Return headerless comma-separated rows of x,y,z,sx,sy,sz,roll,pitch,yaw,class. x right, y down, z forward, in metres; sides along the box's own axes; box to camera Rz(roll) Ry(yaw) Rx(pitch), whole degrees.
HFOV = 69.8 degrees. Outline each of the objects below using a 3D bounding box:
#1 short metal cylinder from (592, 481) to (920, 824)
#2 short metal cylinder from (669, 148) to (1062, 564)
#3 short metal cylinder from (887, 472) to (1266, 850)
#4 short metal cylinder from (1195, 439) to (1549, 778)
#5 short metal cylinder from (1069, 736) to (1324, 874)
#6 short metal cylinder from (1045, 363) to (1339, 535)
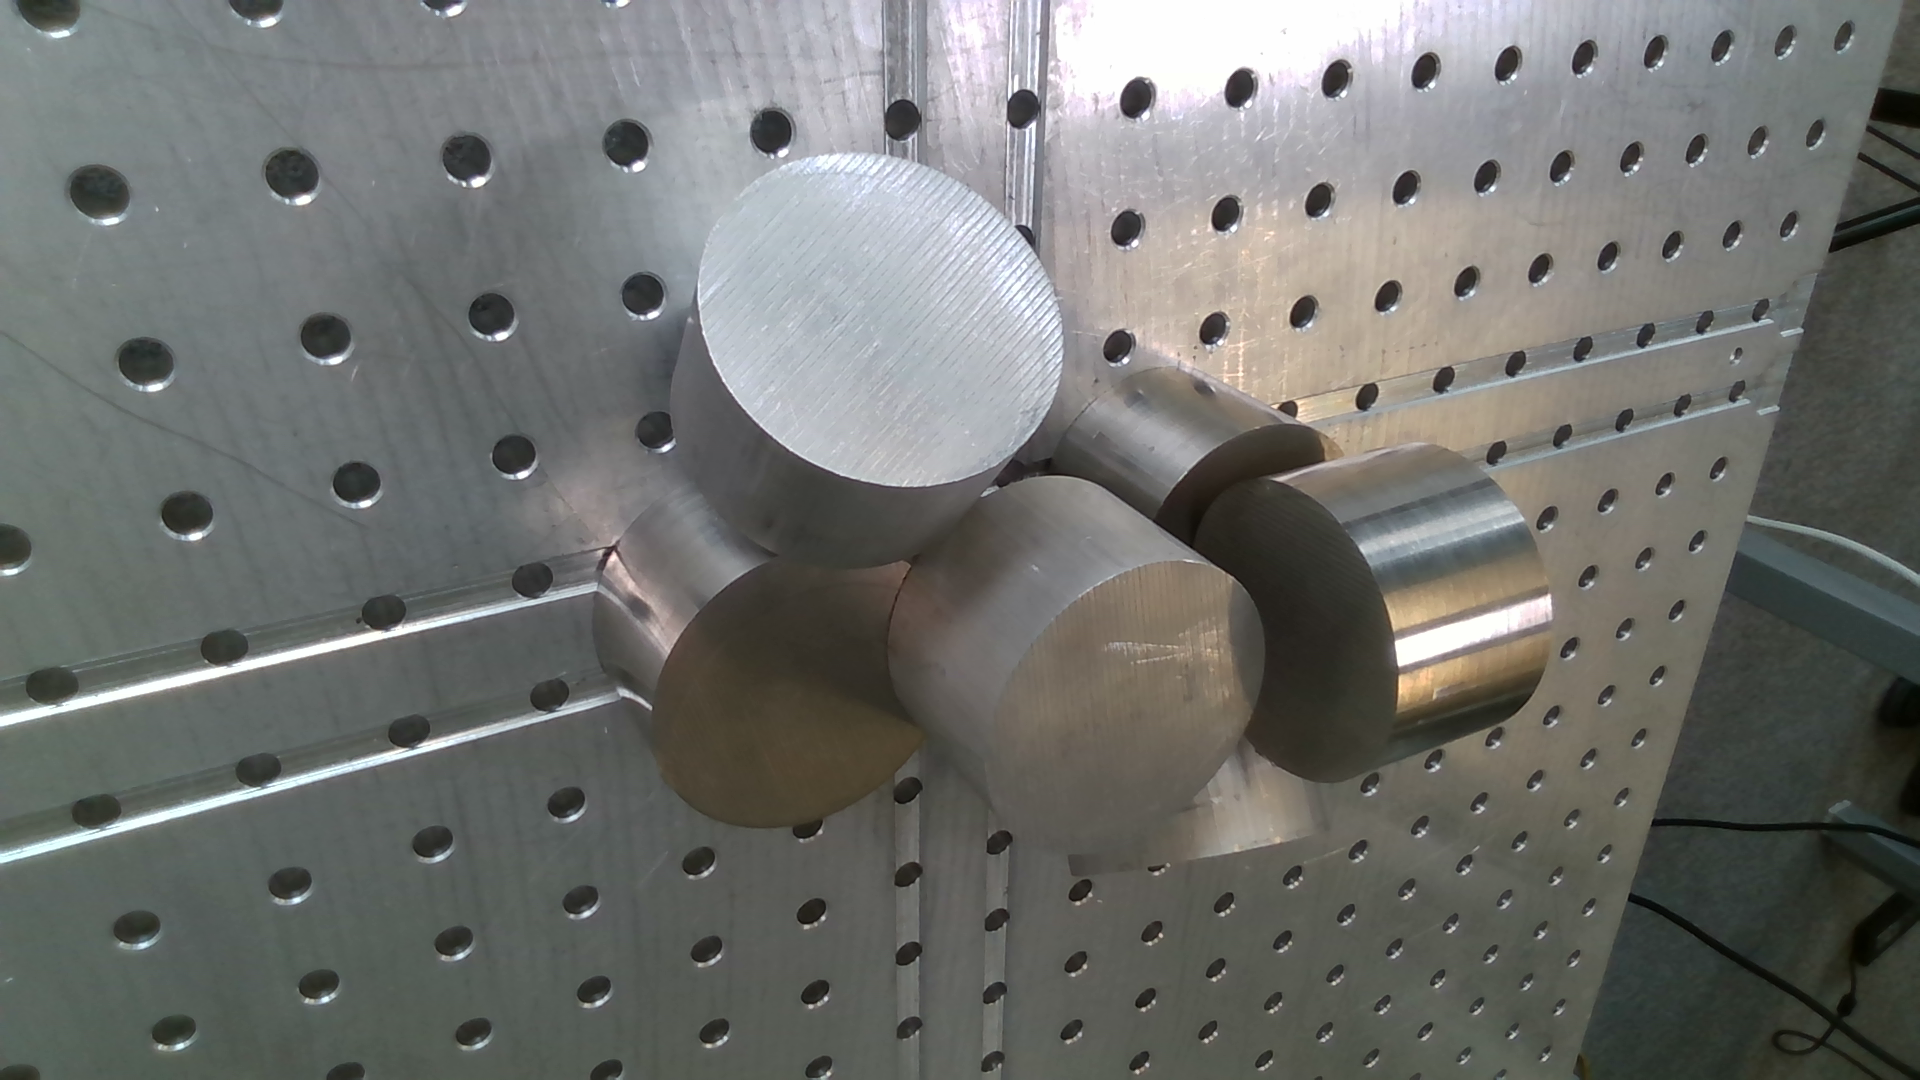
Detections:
-0.050,0.026,0.359,0.080,0.050,0.080,-14,122,-24,short metal cylinder
-0.023,-0.040,0.314,0.080,0.080,0.050,-16,166,-24,short metal cylinder
0.029,0.029,0.344,0.080,0.050,0.080,-14,122,-25,short metal cylinder
0.106,0.017,0.365,0.050,0.080,0.080,-14,121,-25,short metal cylinder
0.068,0.071,0.429,0.080,0.080,0.050,-4,76,-30,short metal cylinder
0.071,-0.007,0.416,0.080,0.050,0.080,-14,121,-24,short metal cylinder
